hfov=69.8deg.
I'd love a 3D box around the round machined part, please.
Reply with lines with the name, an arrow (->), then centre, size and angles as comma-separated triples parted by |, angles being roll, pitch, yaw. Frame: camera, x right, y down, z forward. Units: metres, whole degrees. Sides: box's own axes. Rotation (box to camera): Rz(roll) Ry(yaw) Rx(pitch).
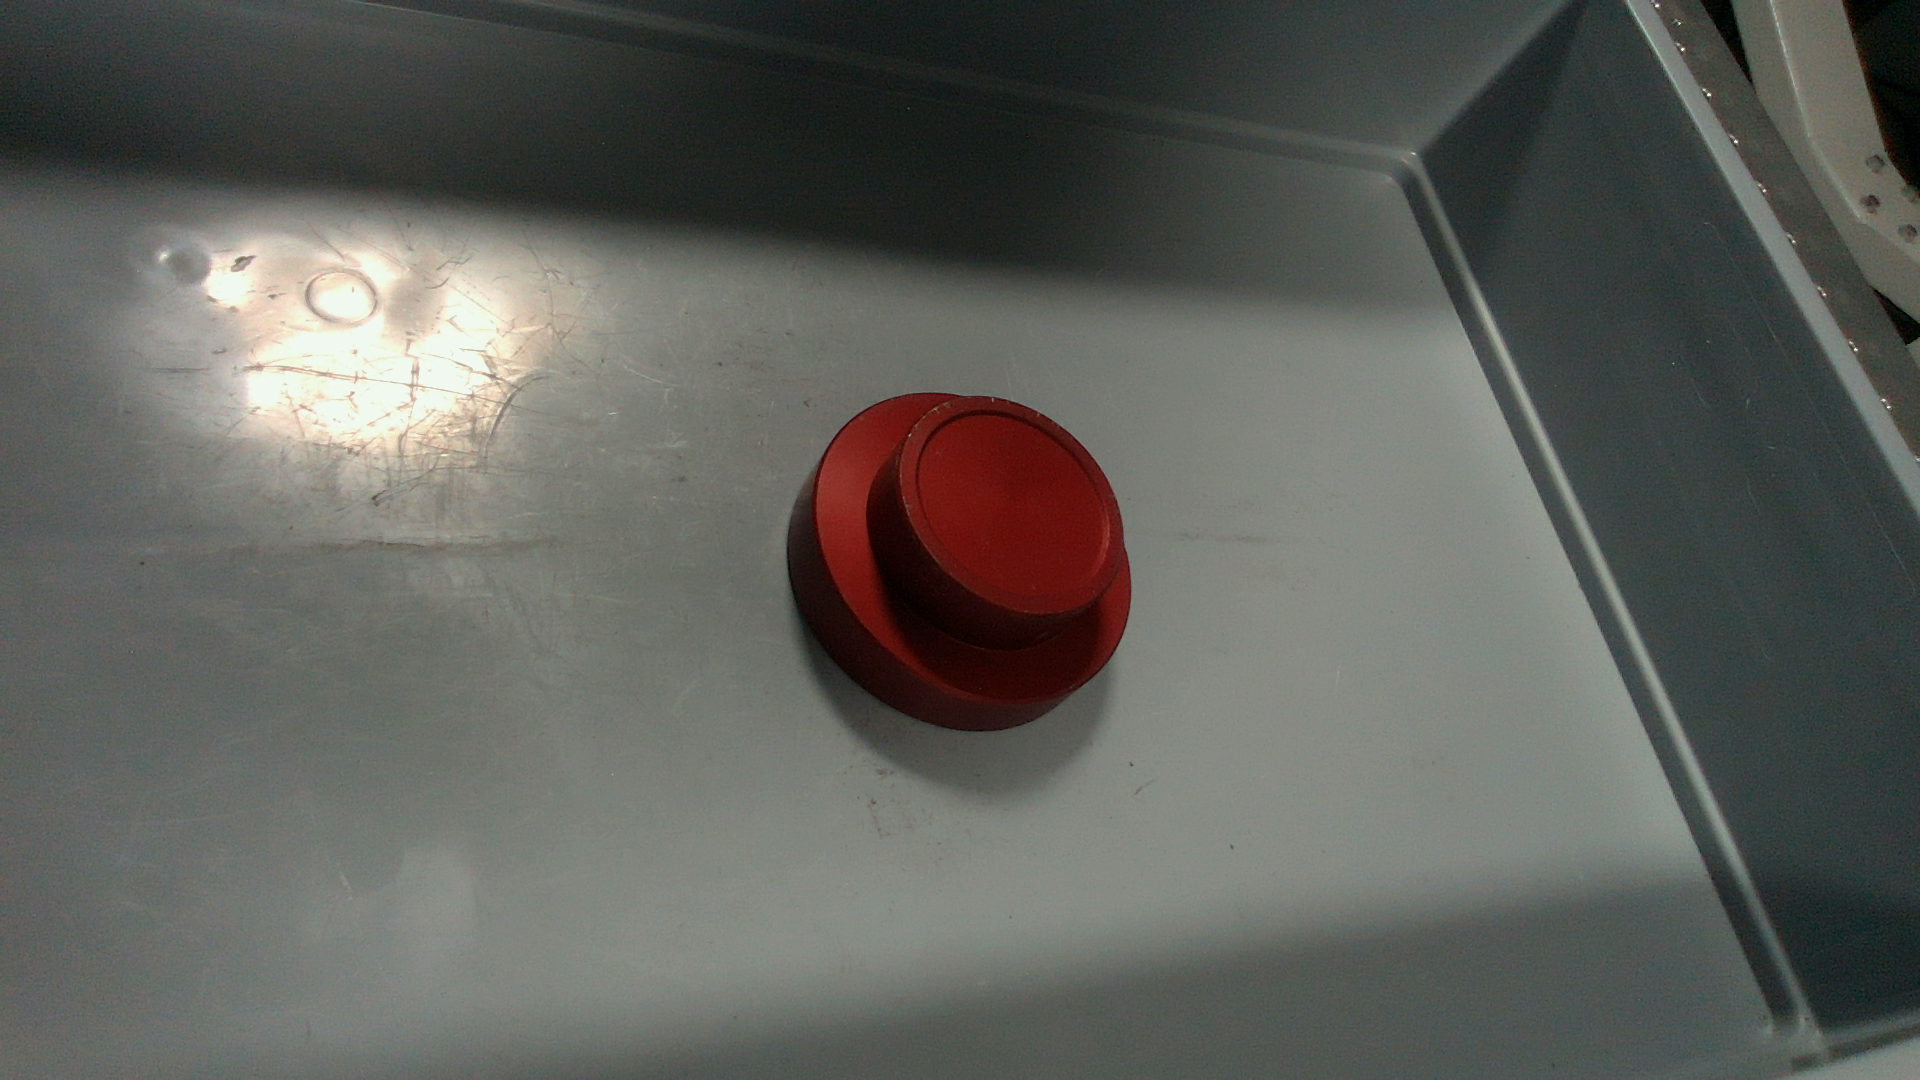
round machined part -> 0.006, -0.001, 0.378 | 0.098, 0.042, 0.098 | 14, 56, -21
